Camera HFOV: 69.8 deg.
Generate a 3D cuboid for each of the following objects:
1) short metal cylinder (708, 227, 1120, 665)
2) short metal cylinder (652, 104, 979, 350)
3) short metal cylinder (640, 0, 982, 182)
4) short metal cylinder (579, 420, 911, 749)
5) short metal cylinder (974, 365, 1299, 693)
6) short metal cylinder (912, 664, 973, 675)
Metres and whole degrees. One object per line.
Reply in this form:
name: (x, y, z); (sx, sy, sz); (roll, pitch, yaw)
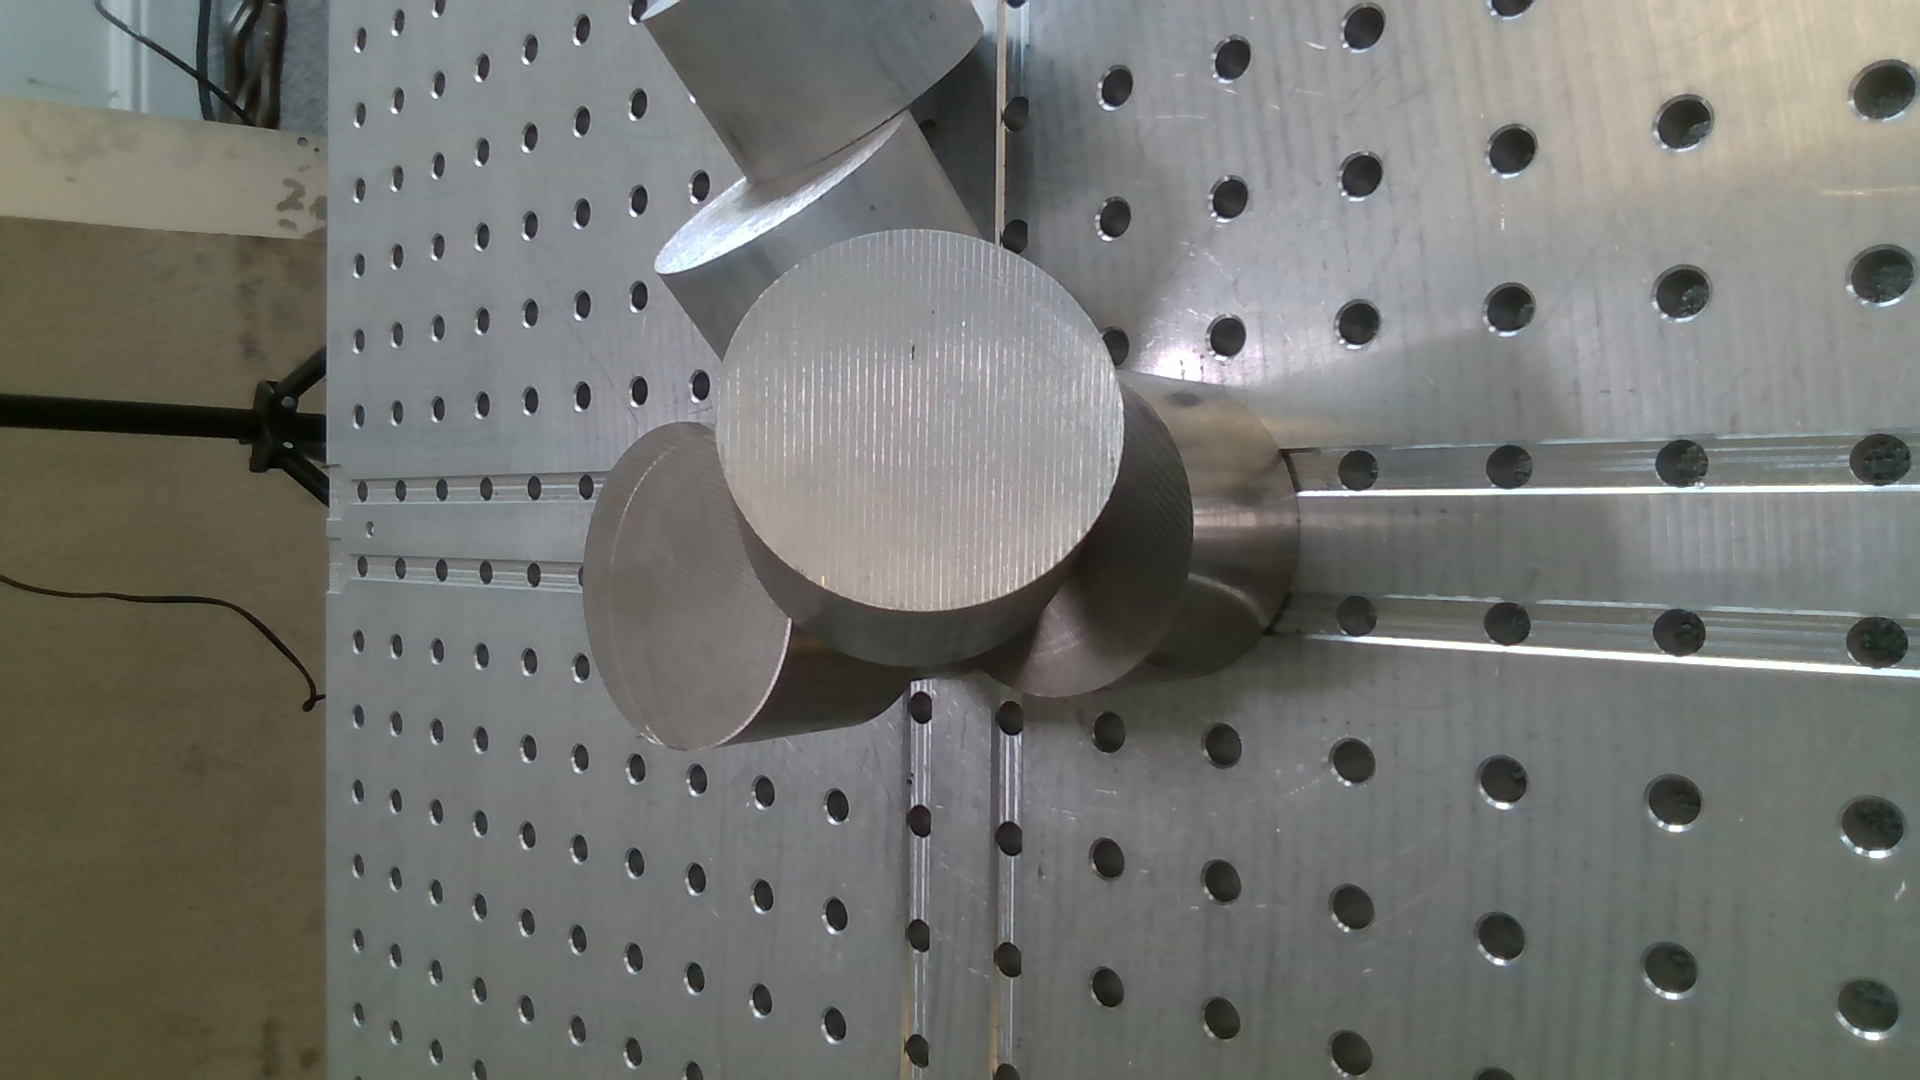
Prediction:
short metal cylinder: (-0.010, -0.018, 0.292); (0.050, 0.080, 0.080); (103, 149, -73)
short metal cylinder: (-0.036, -0.076, 0.378); (0.080, 0.080, 0.050); (-9, 126, 40)
short metal cylinder: (-0.041, -0.144, 0.382); (0.080, 0.080, 0.050); (-10, 126, 40)
short metal cylinder: (-0.053, 0.011, 0.355); (0.080, 0.050, 0.080); (0, 90, 40)
short metal cylinder: (0.037, -0.004, 0.346); (0.080, 0.050, 0.080); (0, 90, 40)
short metal cylinder: (-0.025, 0.001, 0.398); (0.080, 0.050, 0.080); (0, 90, 40)
